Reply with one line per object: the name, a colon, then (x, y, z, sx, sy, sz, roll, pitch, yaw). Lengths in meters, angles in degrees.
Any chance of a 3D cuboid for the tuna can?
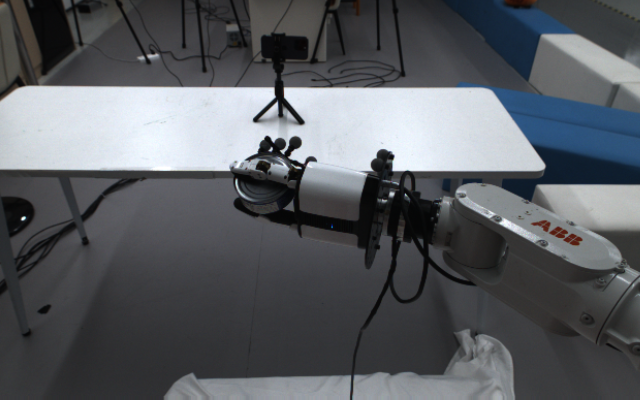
tuna can: (-0.075, -0.025, 0.680, 0.085, 0.034, 0.085, -4, 56, 6)
